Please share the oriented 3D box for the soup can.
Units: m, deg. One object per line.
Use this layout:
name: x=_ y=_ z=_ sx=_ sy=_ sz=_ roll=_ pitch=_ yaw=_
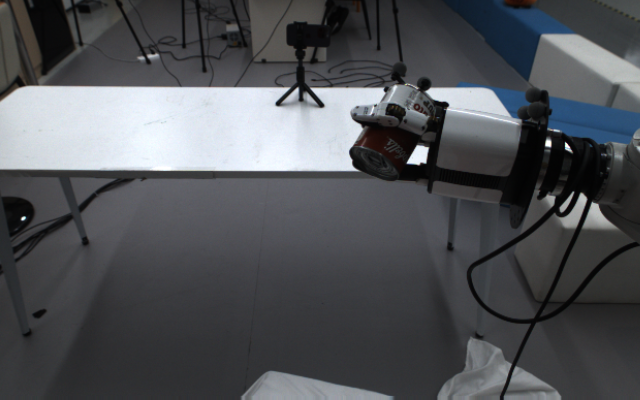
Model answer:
soup can: x=0.091 y=-0.083 z=0.590 sx=0.067 sy=0.067 sz=0.101 roll=24 pitch=73 yaw=28
